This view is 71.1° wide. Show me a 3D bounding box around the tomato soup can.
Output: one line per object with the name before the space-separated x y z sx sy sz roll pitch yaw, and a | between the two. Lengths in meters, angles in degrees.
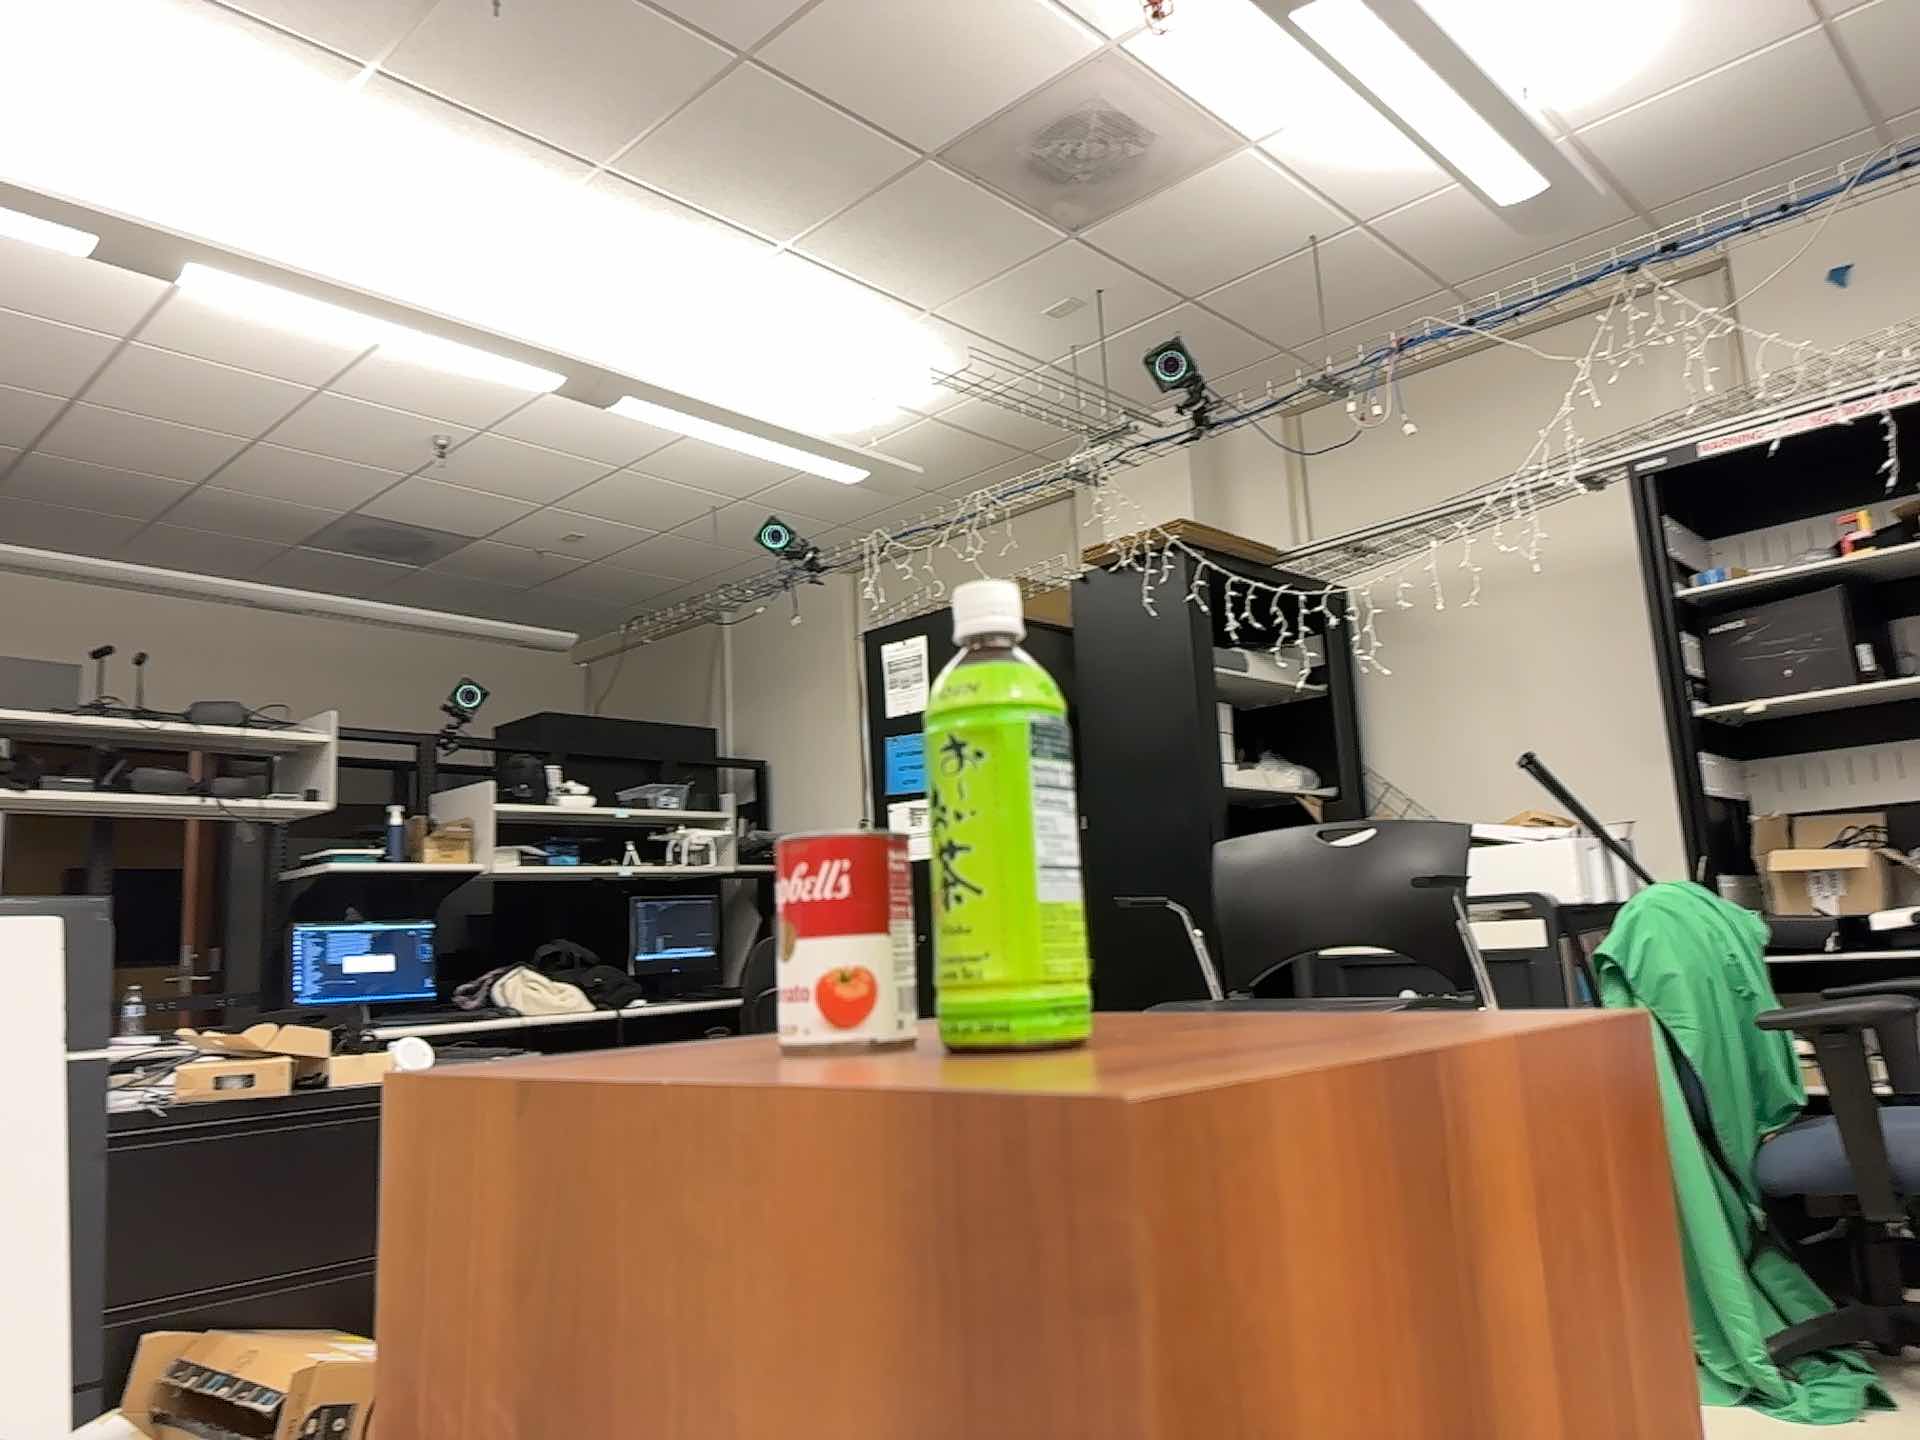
tomato soup can | -0.058 0.103 0.648 0.067 0.102 0.067 -4 -12 -1

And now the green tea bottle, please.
green tea bottle | 0.018 0.038 0.602 0.073 0.212 0.073 -6 -13 -1
